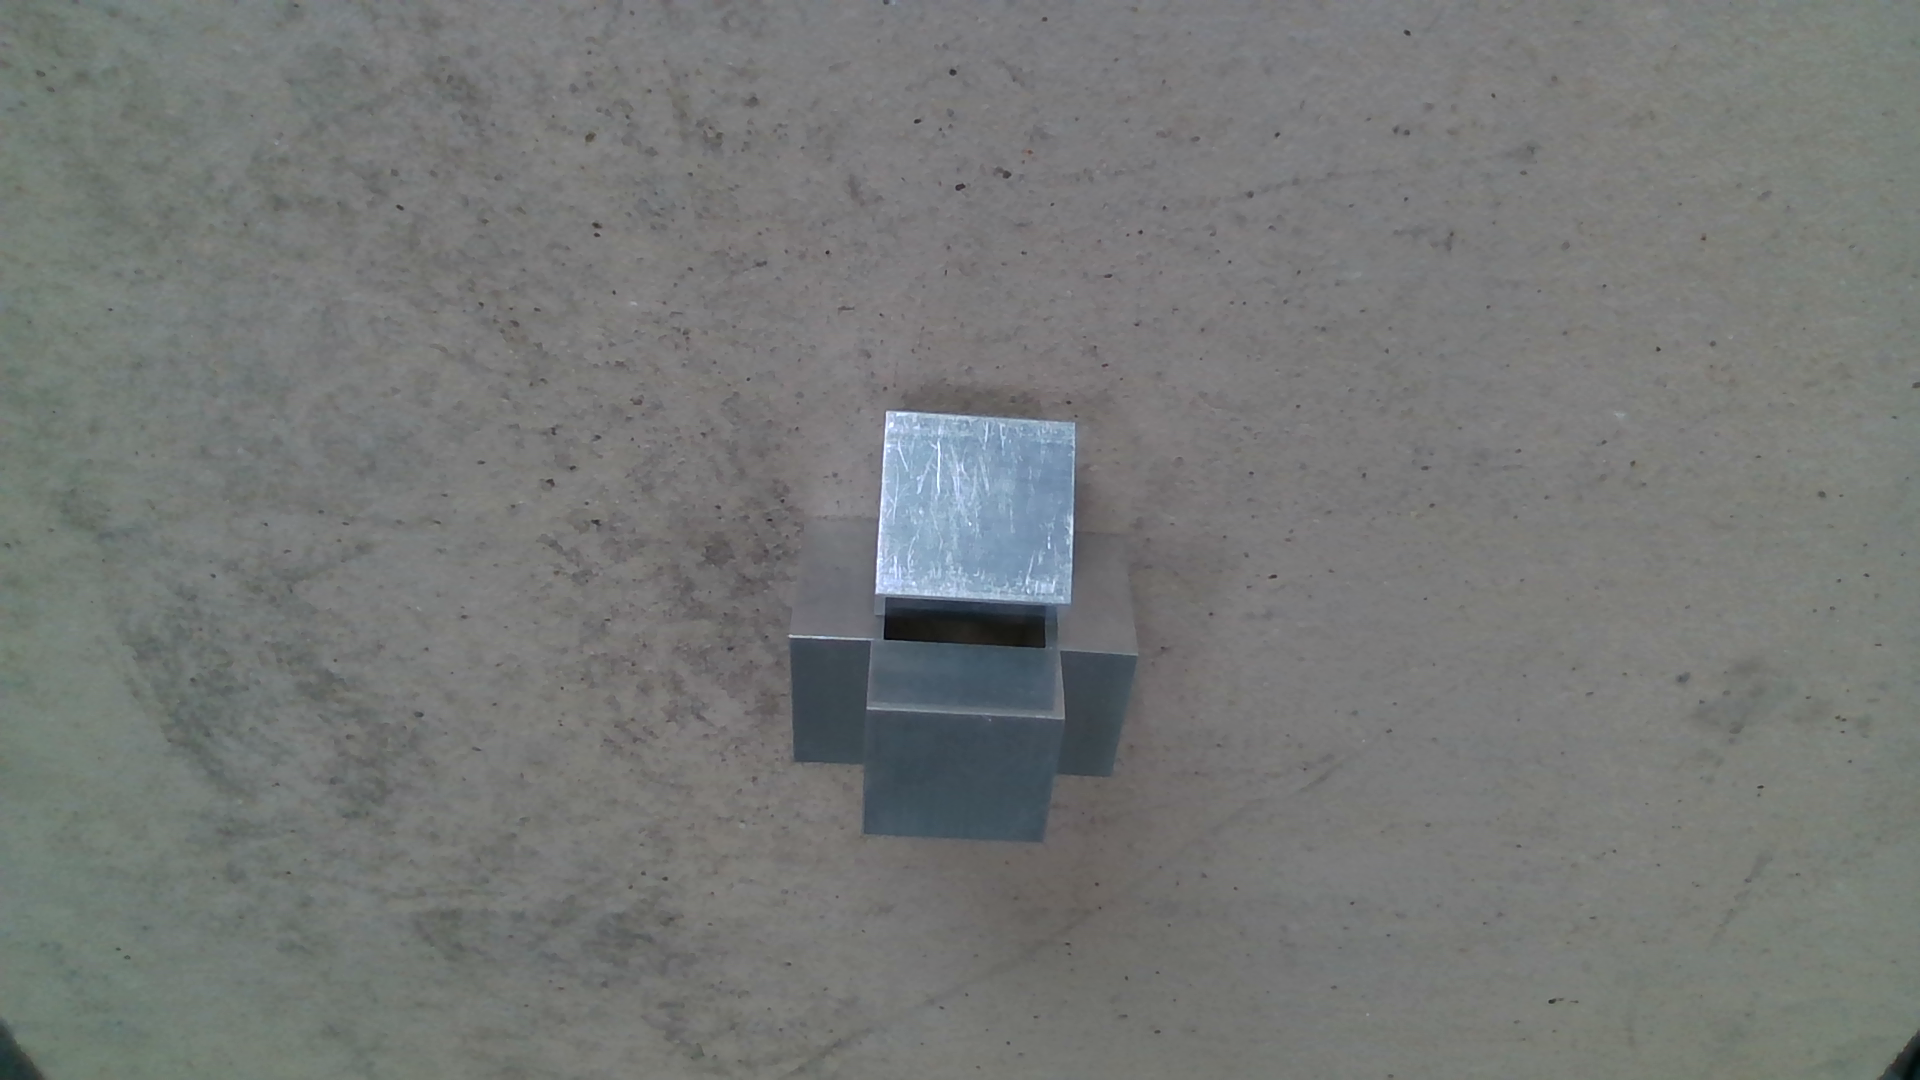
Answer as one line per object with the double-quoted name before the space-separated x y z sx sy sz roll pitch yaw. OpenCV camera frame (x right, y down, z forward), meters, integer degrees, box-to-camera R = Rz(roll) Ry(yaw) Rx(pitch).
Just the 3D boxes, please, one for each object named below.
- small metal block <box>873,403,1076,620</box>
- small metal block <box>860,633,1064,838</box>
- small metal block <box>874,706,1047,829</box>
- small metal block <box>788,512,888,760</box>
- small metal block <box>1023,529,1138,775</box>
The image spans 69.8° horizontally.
"small metal block" 0.004 -0.007 0.365 0.050 0.050 0.025 3 165 -3
"small metal block" 0.000 0.053 0.370 0.050 0.025 0.050 3 130 -2
"small metal block" 0.000 0.070 0.429 0.050 0.050 0.025 2 95 -1
"small metal block" -0.034 0.028 0.397 0.025 0.050 0.050 3 130 -2
"small metal block" 0.033 0.032 0.400 0.025 0.050 0.050 4 130 -3
